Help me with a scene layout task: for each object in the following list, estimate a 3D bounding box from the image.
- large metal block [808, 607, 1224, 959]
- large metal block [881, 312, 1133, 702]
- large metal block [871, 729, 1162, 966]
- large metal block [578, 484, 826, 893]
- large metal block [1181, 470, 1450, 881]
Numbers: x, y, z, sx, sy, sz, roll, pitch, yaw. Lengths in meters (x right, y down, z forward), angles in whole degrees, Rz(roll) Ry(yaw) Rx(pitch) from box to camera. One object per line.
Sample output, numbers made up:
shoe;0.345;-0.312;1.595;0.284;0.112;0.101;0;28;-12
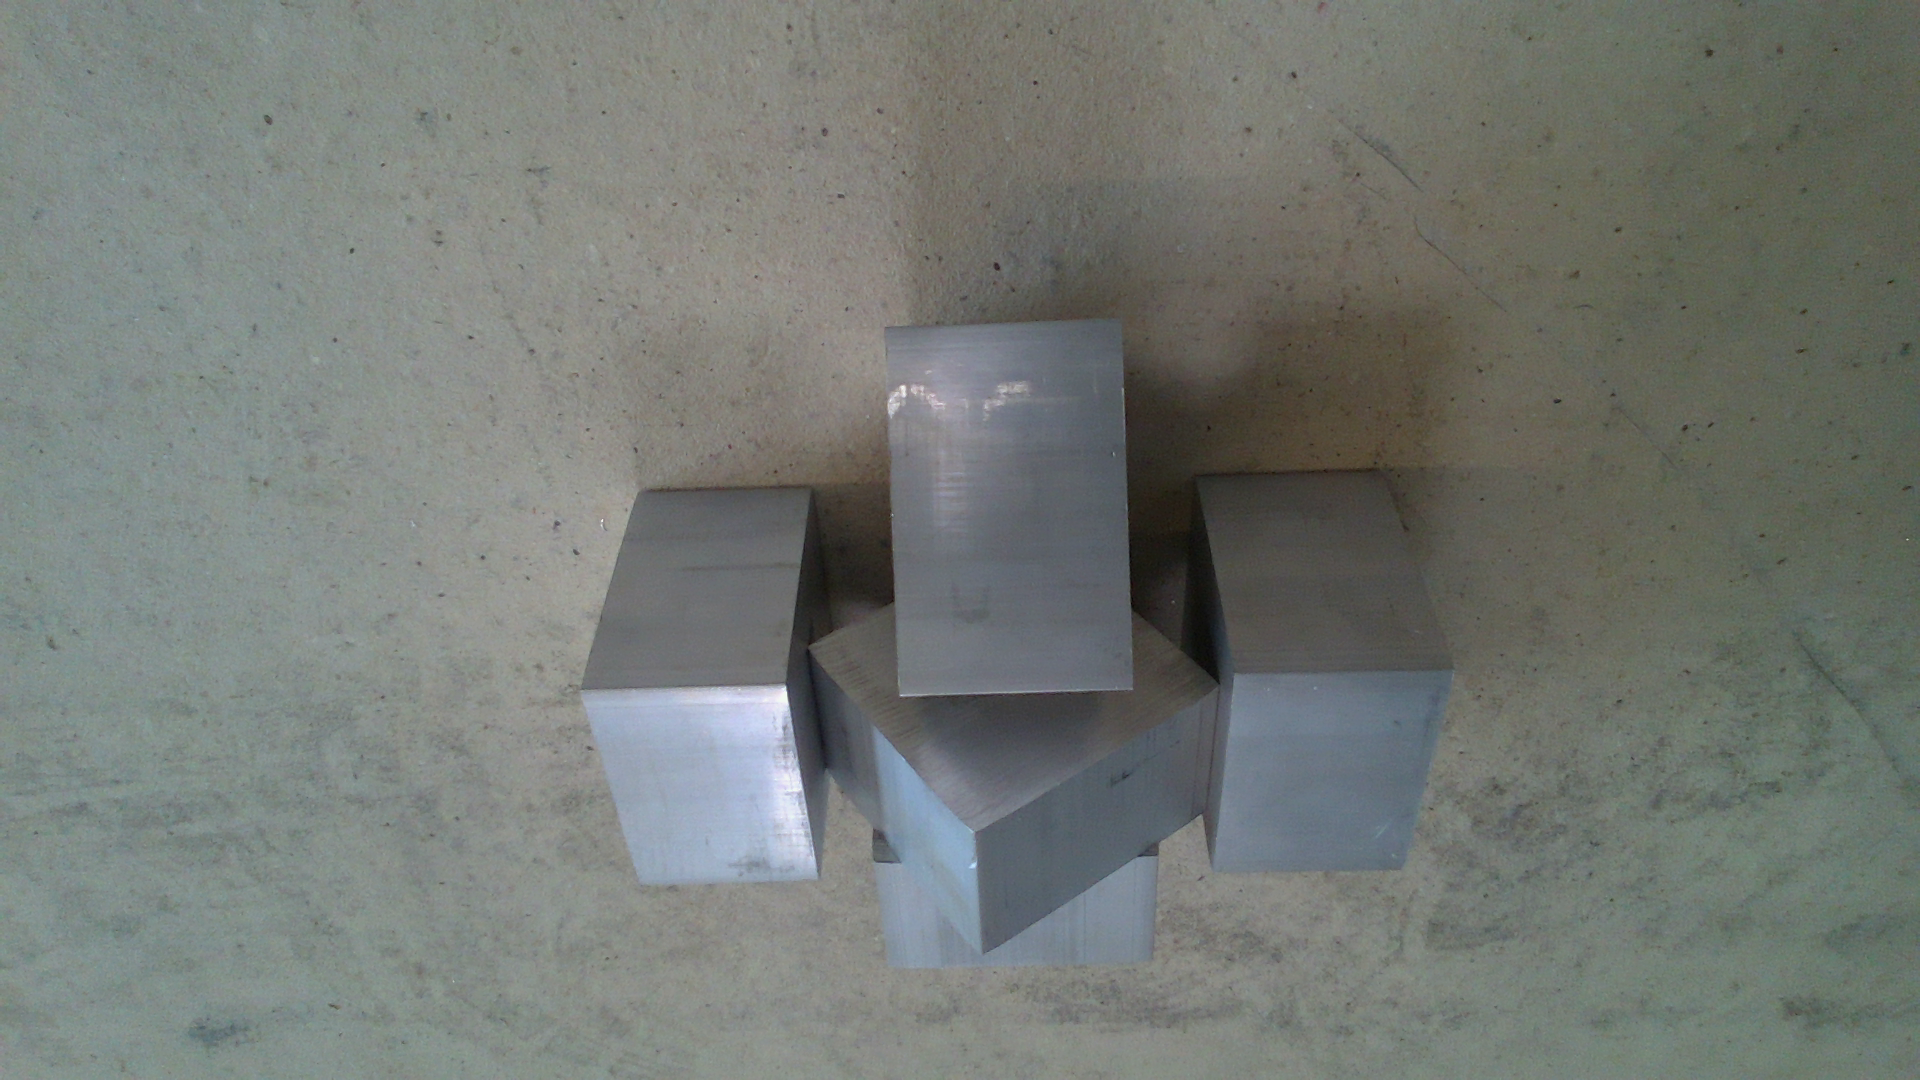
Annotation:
large metal block;0.014;0.053;0.381;0.080;0.080;0.050;-26;135;-25
large metal block;0.011;-0.008;0.329;0.050;0.080;0.080;-2;93;2
large metal block;0.017;0.081;0.425;0.080;0.080;0.050;-2;130;2
large metal block;-0.066;0.041;0.388;0.050;0.080;0.080;-2;130;1
large metal block;0.094;0.037;0.387;0.050;0.080;0.080;-2;129;1
